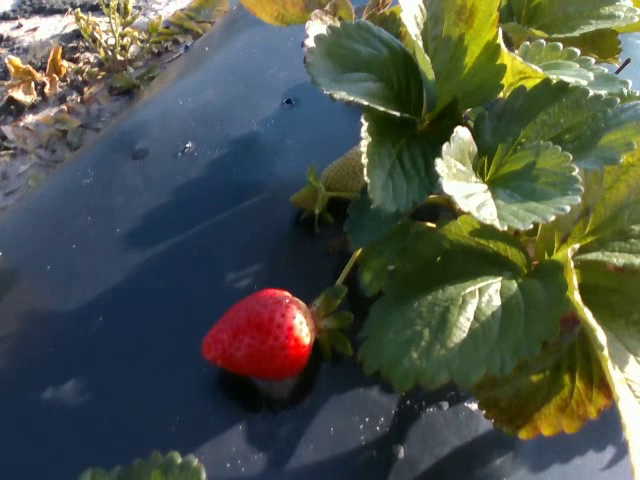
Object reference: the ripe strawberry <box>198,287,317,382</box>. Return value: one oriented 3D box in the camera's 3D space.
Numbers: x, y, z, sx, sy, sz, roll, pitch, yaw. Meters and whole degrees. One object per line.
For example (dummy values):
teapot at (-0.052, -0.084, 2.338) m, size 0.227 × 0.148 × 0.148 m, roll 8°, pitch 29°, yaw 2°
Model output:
ripe strawberry at (-0.022, 0.032, 0.203) m, size 0.044 × 0.033 × 0.030 m, roll -10°, pitch 8°, yaw -11°
